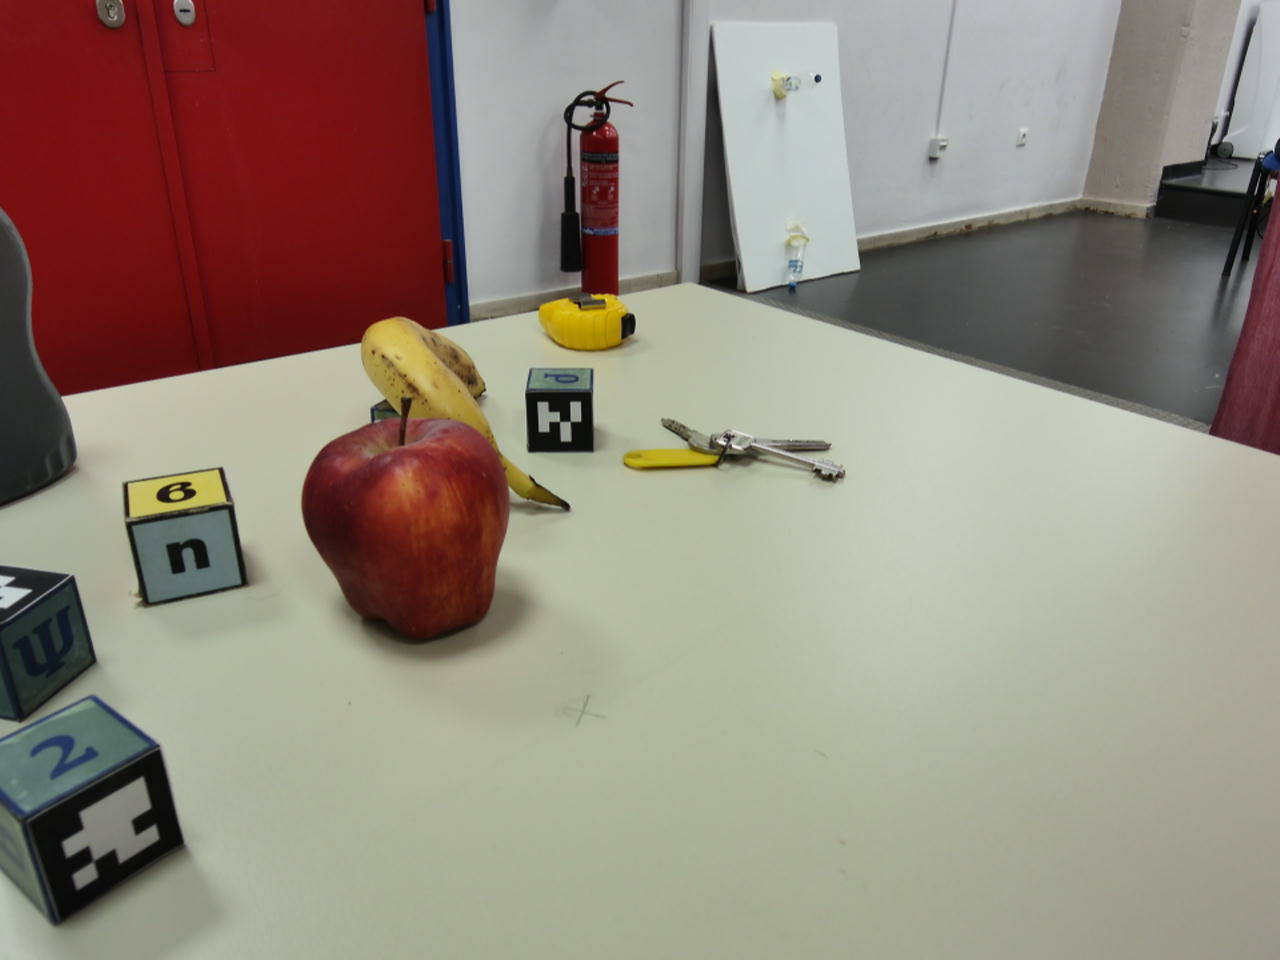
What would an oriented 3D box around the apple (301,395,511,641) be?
[{"bbox_3d":[-0.090,0.012,0.390,0.083,0.090,0.083,0,23,0],"label":"apple"}]
